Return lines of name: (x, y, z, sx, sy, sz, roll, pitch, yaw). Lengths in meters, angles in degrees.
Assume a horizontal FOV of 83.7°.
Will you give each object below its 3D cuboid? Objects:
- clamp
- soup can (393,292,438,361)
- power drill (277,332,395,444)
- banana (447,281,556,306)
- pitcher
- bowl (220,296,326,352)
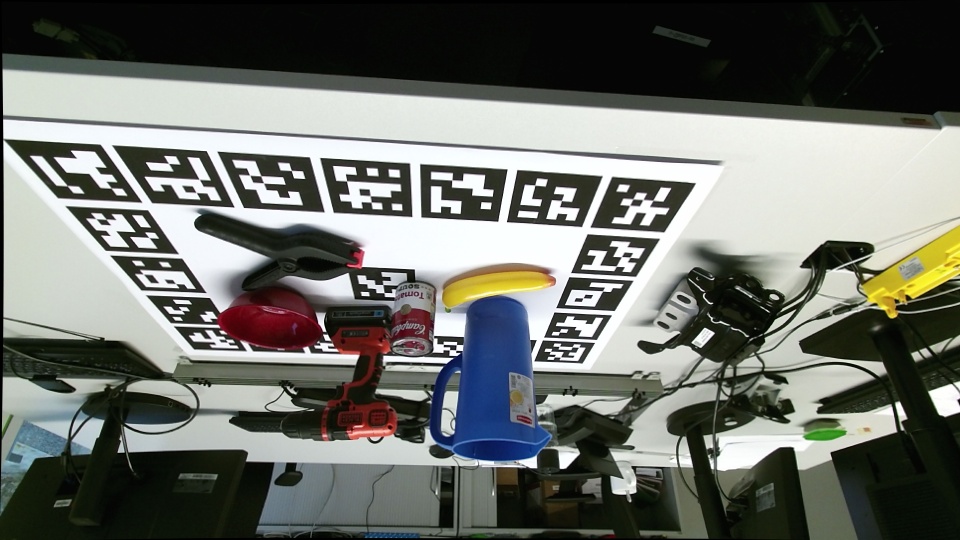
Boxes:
clamp: (-0.258, 0.000, 0.752, 0.203, 0.036, 0.165, 1, 141, -2)
soup can: (-0.101, 0.095, 0.848, 0.068, 0.101, 0.068, 0, 154, 0)
power drill: (-0.226, 0.196, 0.884, 0.185, 0.186, 0.057, 0, 145, 0)
banana: (0.027, 0.045, 0.835, 0.198, 0.038, 0.074, -11, 152, 18)
pitcher: (0.015, 0.193, 0.868, 0.189, 0.241, 0.133, -12, 147, 16)
bowl: (-0.331, 0.089, 0.875, 0.162, 0.055, 0.162, -1, 144, 0)
